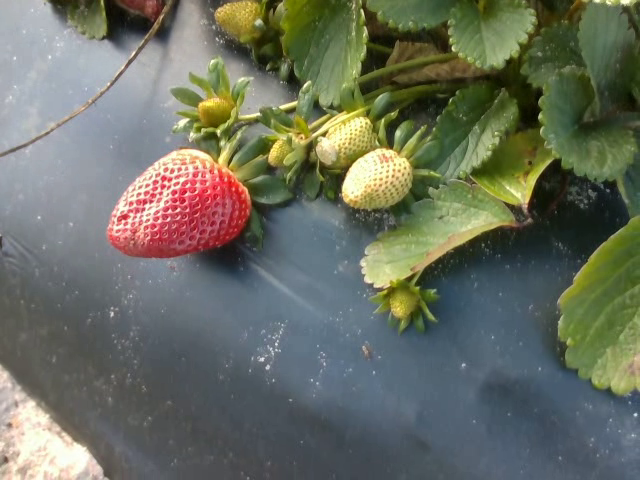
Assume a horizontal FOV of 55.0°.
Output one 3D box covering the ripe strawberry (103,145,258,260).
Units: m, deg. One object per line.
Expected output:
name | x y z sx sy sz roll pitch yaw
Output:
ripe strawberry | -0.067 -0.015 0.281 0.067 0.052 0.045 -44 -14 -35
